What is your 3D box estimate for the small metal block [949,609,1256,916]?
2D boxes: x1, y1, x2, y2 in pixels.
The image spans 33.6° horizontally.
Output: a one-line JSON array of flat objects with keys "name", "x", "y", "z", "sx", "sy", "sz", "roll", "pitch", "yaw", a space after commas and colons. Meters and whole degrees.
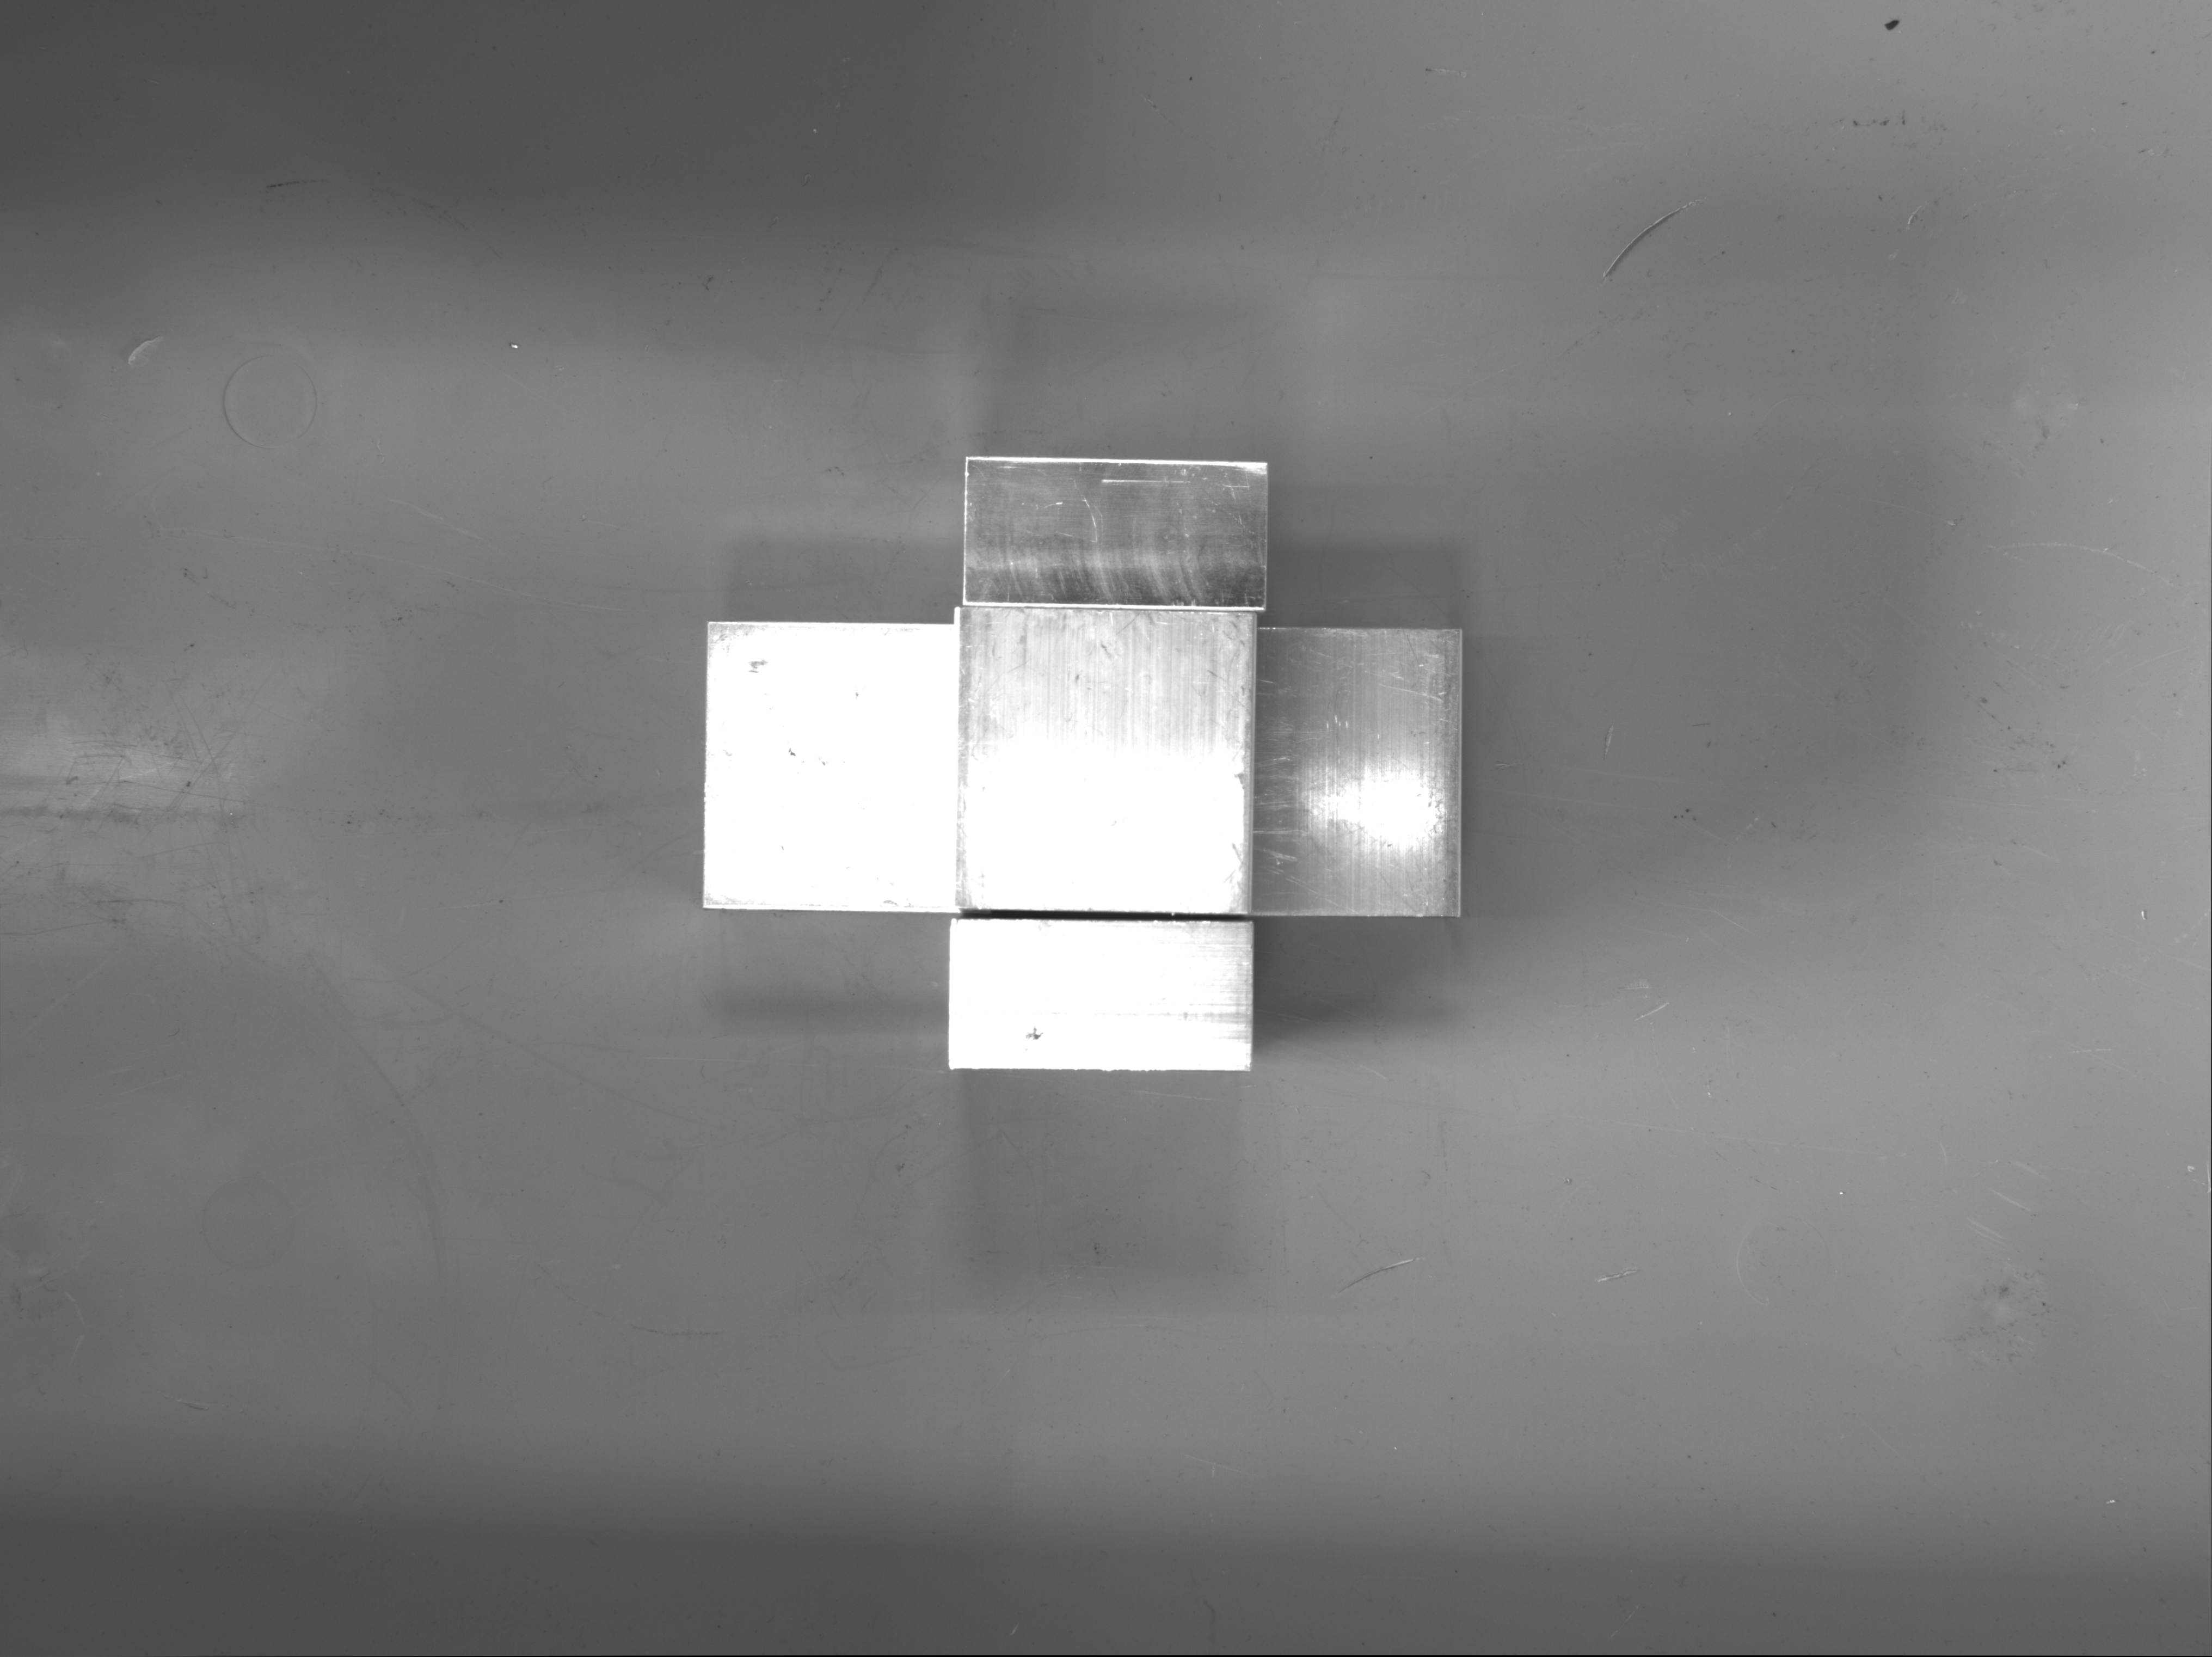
[{"name": "small metal block", "x": -0.001, "y": -0.011, "z": 0.618, "sx": 0.050, "sy": 0.025, "sz": 0.050, "roll": 1, "pitch": 90, "yaw": 0}]

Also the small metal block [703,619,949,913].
[{"name": "small metal block", "x": -0.044, "y": -0.011, "z": 0.643, "sx": 0.050, "sy": 0.025, "sz": 0.050, "roll": 1, "pitch": 90, "yaw": 0}]

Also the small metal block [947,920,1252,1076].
[{"name": "small metal block", "x": -0.001, "y": 0.028, "z": 0.630, "sx": 0.050, "sy": 0.050, "sz": 0.025, "roll": 1, "pitch": 90, "yaw": 0}]

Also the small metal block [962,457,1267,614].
[{"name": "small metal block", "x": 0.001, "y": -0.049, "z": 0.631, "sx": 0.050, "sy": 0.050, "sz": 0.025, "roll": 1, "pitch": 90, "yaw": 0}]

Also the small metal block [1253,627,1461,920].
[{"name": "small metal block", "x": 0.036, "y": -0.009, "z": 0.644, "sx": 0.050, "sy": 0.025, "sz": 0.050, "roll": 1, "pitch": 90, "yaw": 0}]
